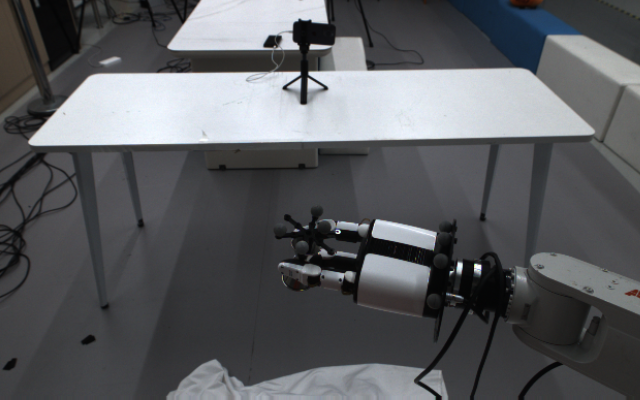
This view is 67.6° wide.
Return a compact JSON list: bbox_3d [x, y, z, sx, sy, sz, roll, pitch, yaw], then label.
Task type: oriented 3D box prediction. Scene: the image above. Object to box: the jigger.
[{"bbox_3d":[-0.025,0.084,0.657,0.043,0.071,0.043,10,35,-7],"label":"jigger"}]
